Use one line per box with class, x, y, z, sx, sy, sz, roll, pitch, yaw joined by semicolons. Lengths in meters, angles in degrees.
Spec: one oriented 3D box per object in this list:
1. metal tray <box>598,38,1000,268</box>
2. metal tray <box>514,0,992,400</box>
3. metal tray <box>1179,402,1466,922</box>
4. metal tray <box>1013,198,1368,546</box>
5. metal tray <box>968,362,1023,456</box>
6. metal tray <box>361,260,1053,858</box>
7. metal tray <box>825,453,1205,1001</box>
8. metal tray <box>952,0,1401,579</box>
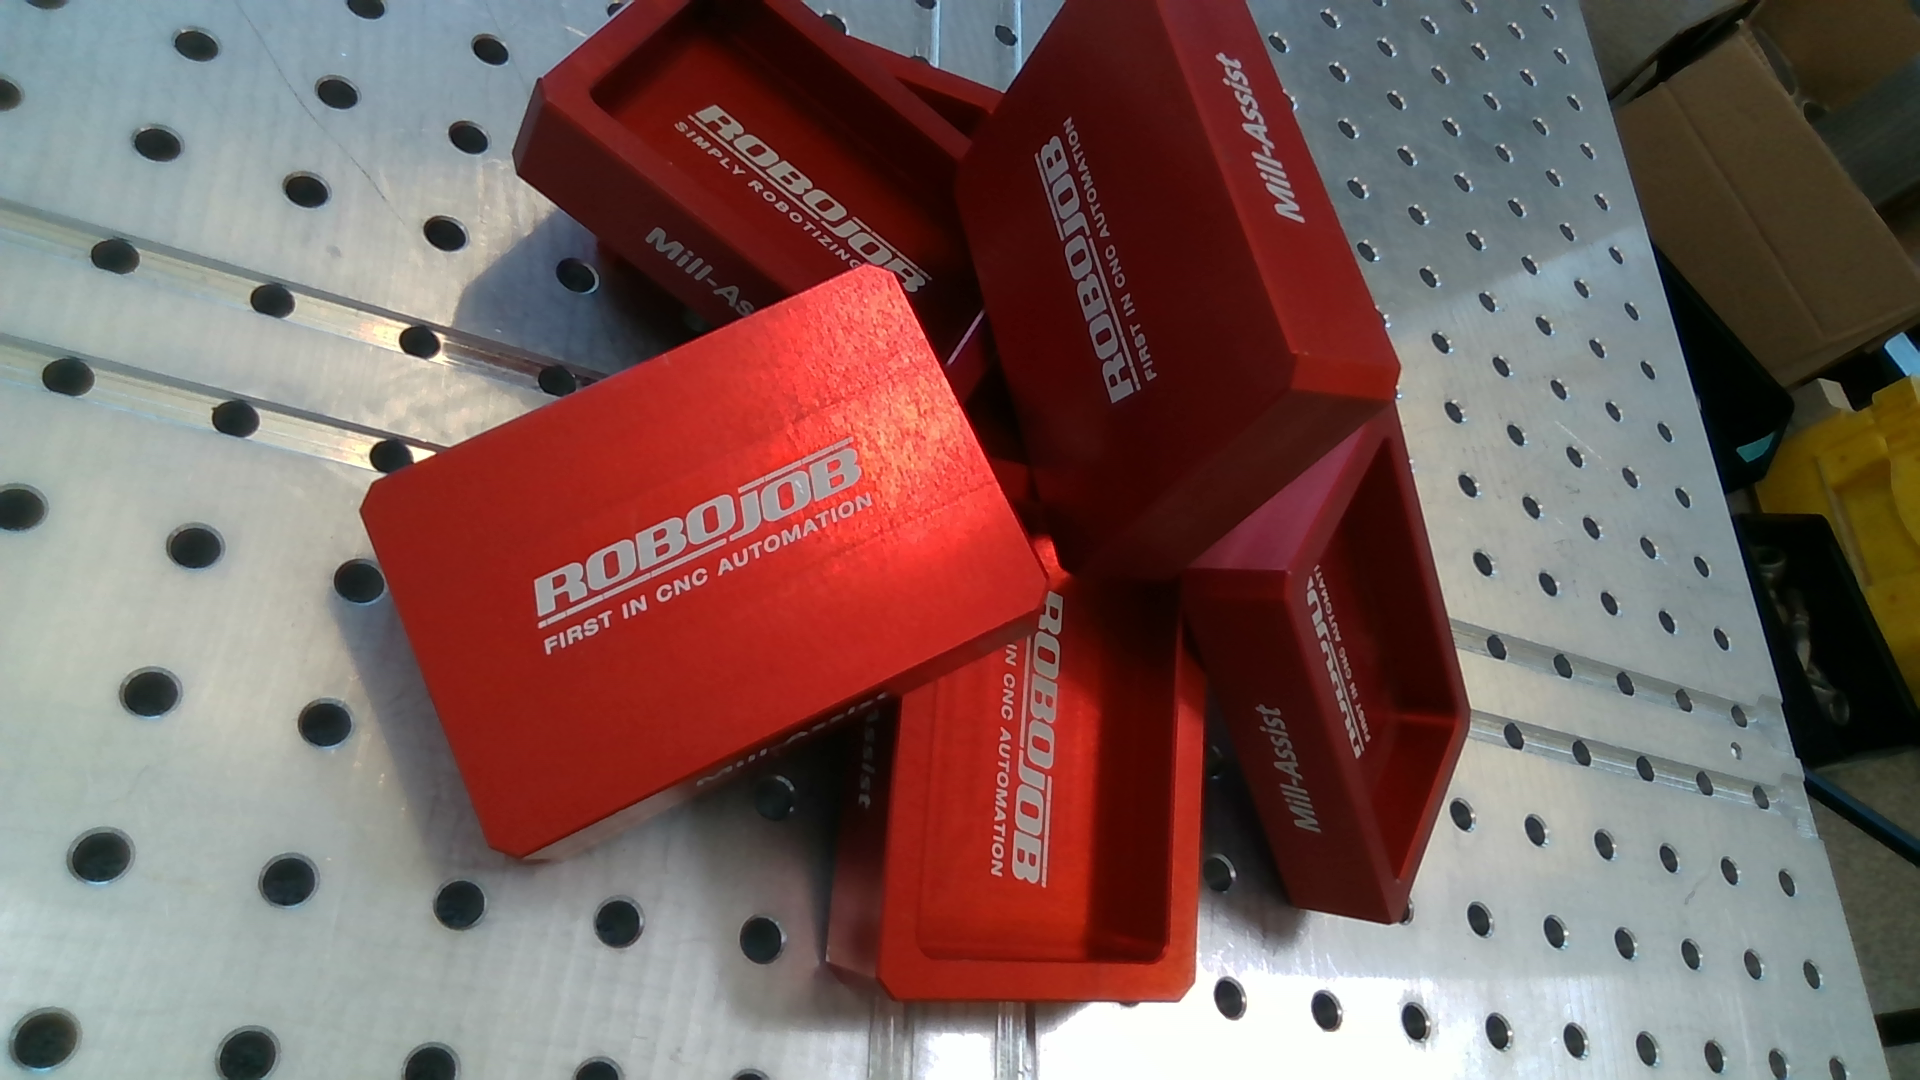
metal tray;-0.042;-0.115;0.429;0.130;0.030;0.090;11;61;-28
metal tray;-0.042;-0.095;0.378;0.130;0.030;0.090;37;52;-9
metal tray;0.110;0.034;0.399;0.090;0.030;0.130;-52;130;-39
metal tray;0.081;-0.061;0.454;0.090;0.030;0.130;51;35;2
metal tray;0.005;-0.019;0.406;0.130;0.030;0.090;11;62;-29
metal tray;-0.056;0.004;0.313;0.130;0.030;0.090;-25;78;-4
metal tray;0.018;0.049;0.354;0.090;0.030;0.130;10;78;-27
metal tray;0.044;-0.067;0.334;0.030;0.090;0.130;2;60;-31
